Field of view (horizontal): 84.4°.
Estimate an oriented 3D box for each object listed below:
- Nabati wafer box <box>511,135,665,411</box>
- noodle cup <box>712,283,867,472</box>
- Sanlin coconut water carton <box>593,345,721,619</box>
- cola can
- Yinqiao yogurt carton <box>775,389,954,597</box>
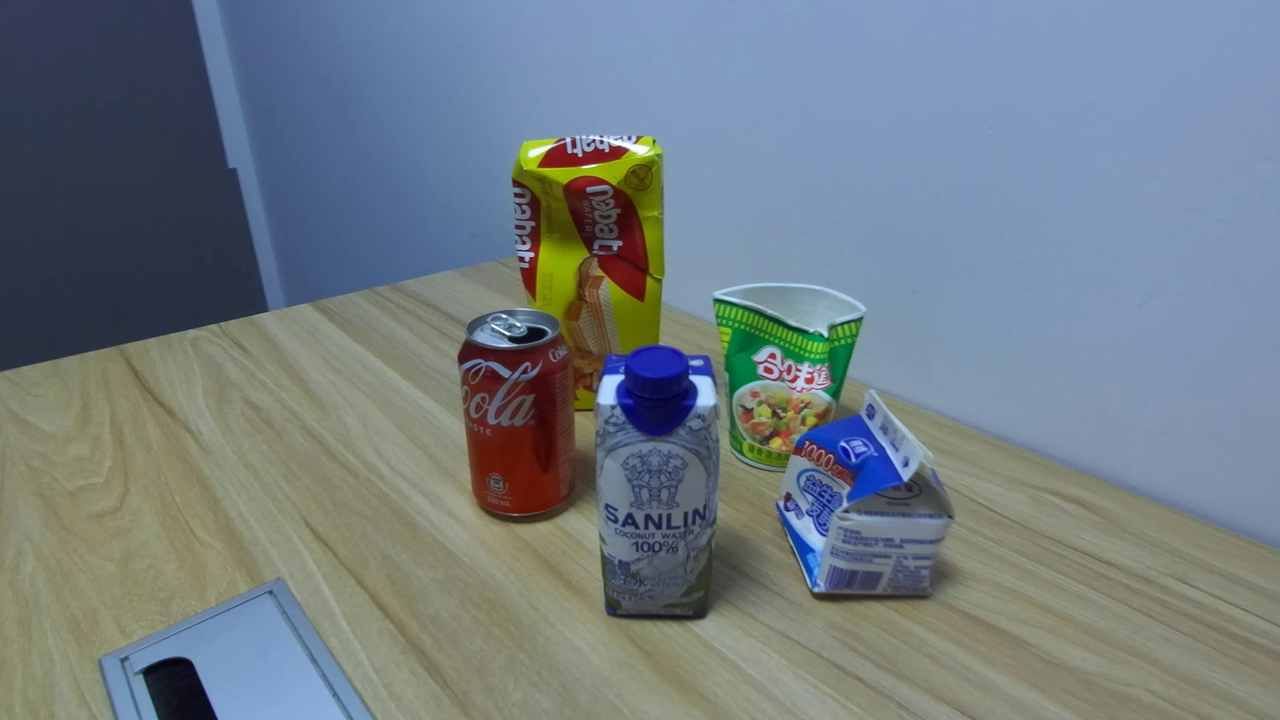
[{"bbox_3d":[-0.037,-0.059,0.521,0.107,0.204,0.042,0,27,-2],"label":"Nabati wafer box"},{"bbox_3d":[0.101,0.012,0.487,0.075,0.122,0.082,-9,18,-36],"label":"noodle cup"},{"bbox_3d":[0.010,0.058,0.352,0.060,0.144,0.060,1,25,2],"label":"Sanlin coconut water carton"},{"bbox_3d":[-0.075,0.032,0.435,0.068,0.120,0.068,1,27,0],"label":"cola can"},{"bbox_3d":[0.125,0.071,0.387,0.071,0.094,0.077,4,27,-8],"label":"Yinqiao yogurt carton"}]
